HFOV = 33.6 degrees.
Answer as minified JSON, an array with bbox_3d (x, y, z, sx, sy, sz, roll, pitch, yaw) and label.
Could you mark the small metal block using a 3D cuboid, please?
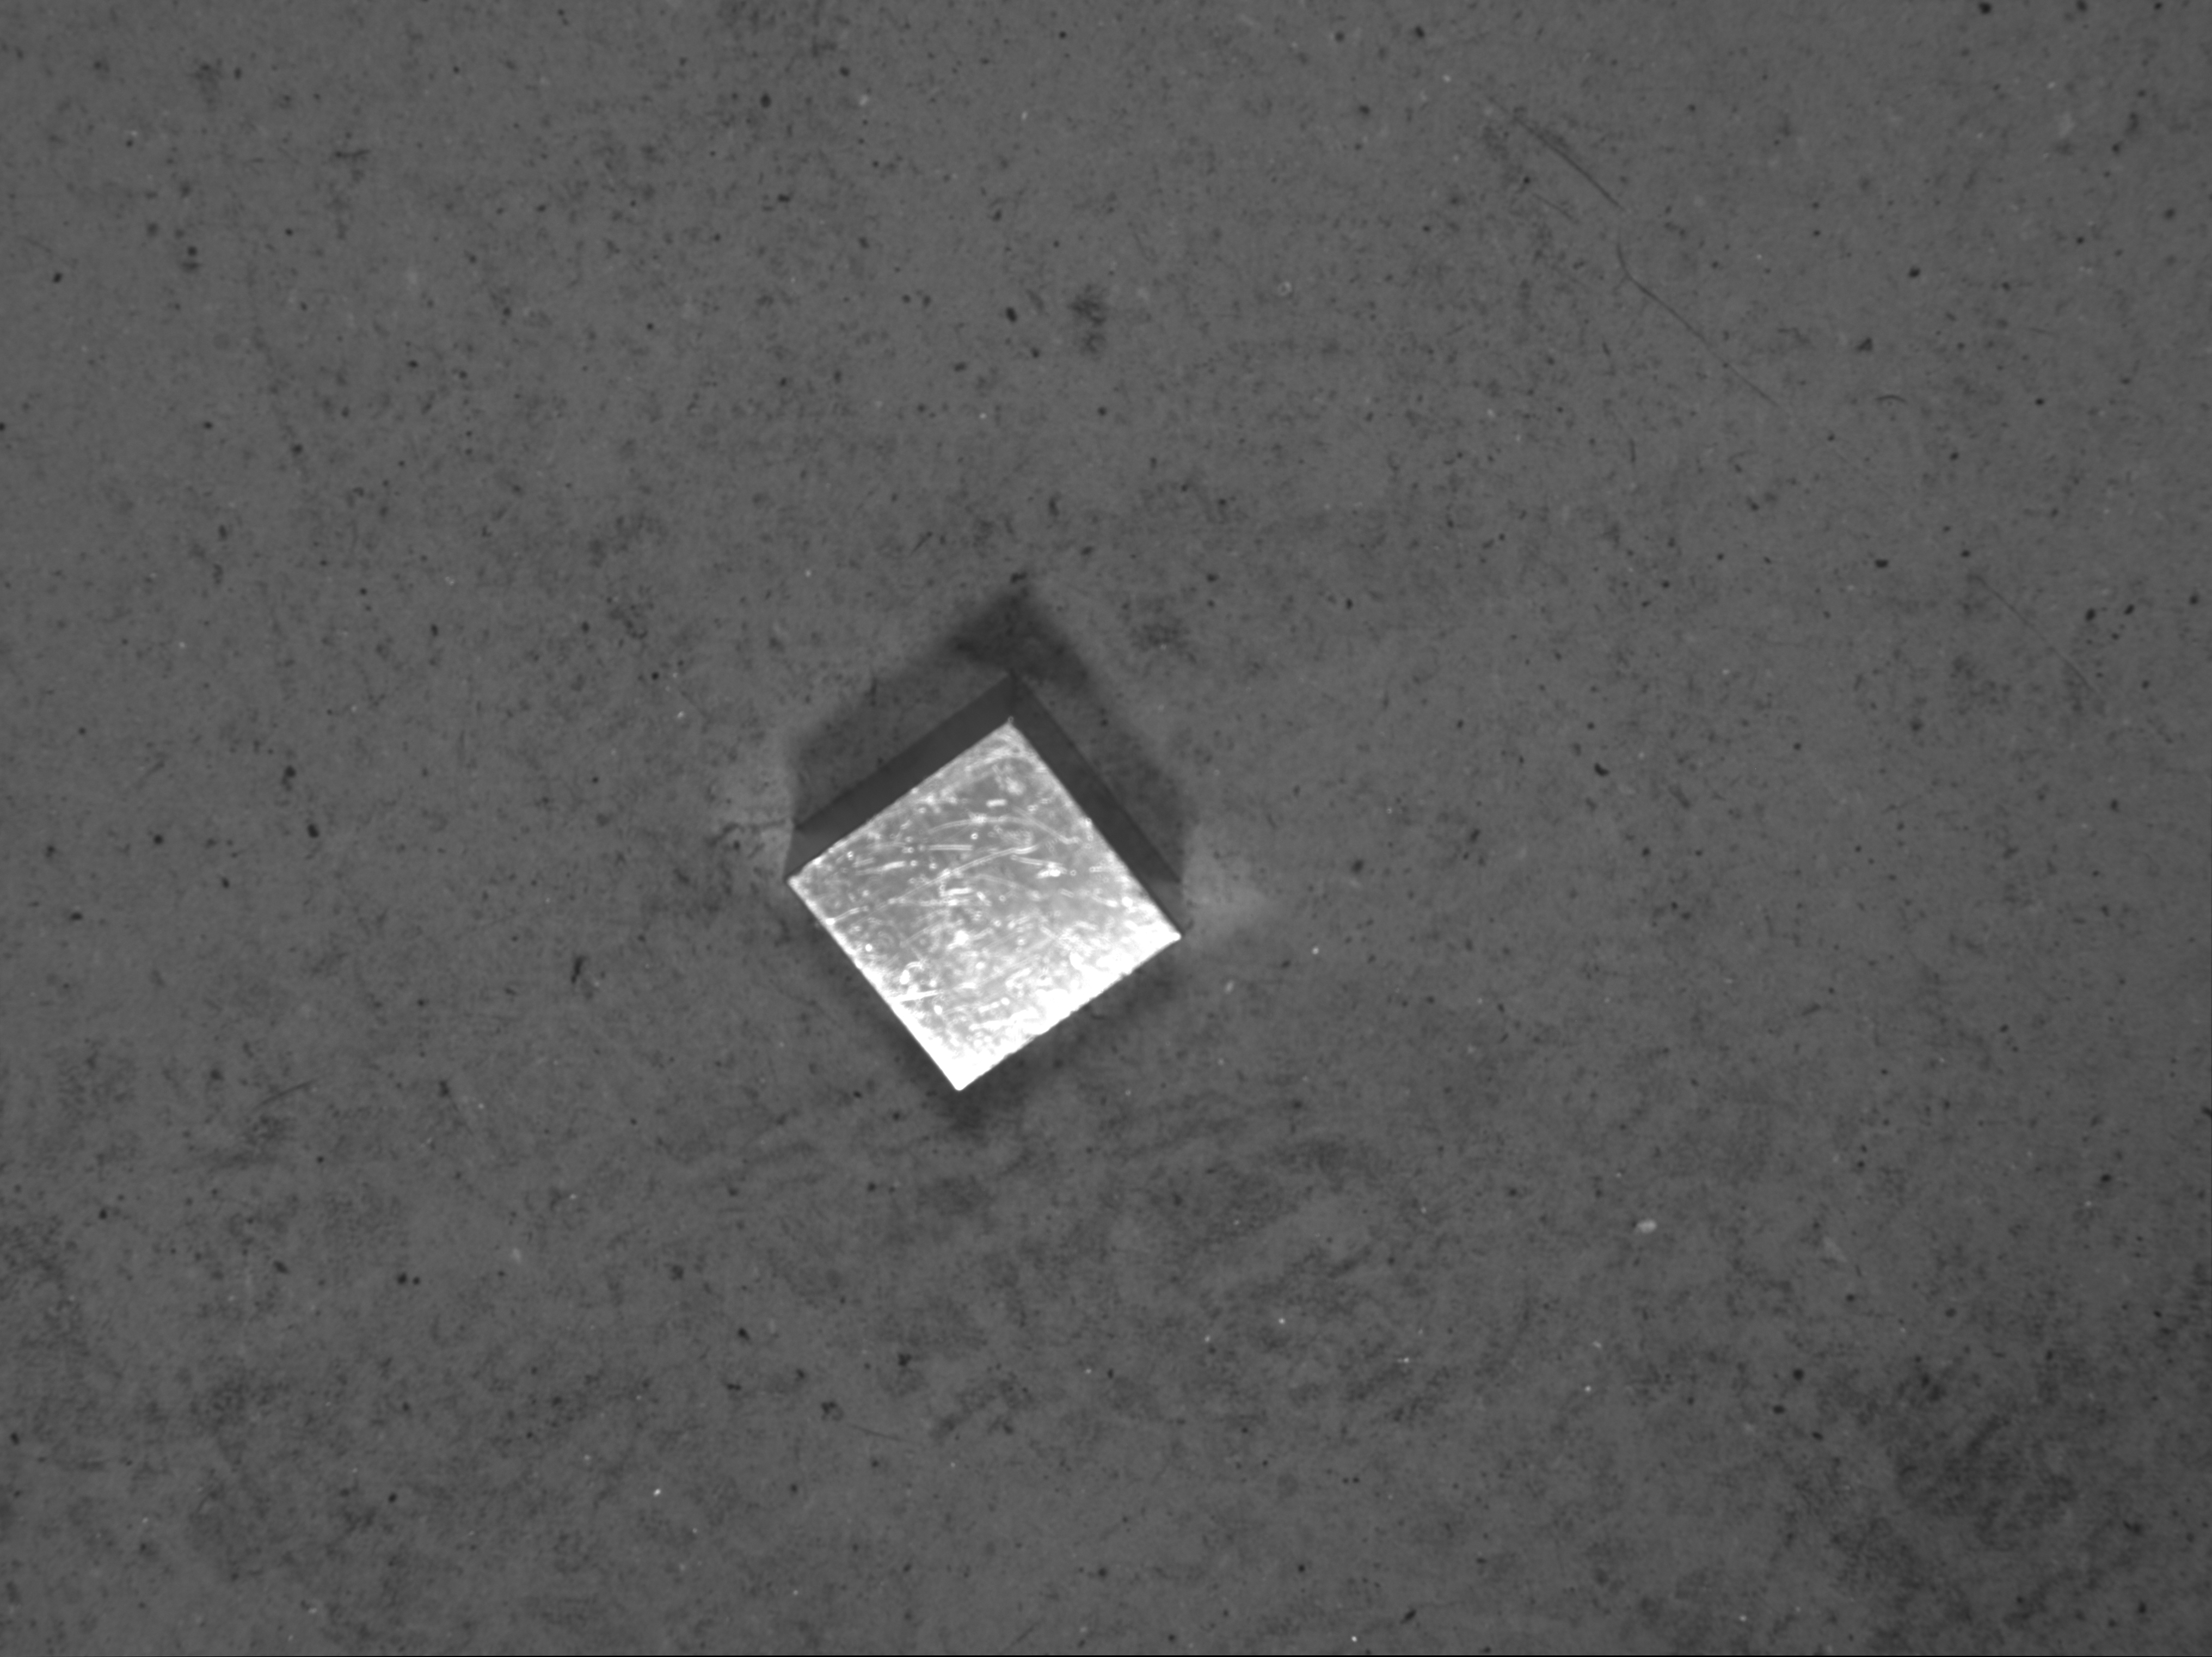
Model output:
[{"bbox_3d":[-0.023,0.010,0.647,0.050,0.025,0.050,-35,107,11],"label":"small metal block"}]
